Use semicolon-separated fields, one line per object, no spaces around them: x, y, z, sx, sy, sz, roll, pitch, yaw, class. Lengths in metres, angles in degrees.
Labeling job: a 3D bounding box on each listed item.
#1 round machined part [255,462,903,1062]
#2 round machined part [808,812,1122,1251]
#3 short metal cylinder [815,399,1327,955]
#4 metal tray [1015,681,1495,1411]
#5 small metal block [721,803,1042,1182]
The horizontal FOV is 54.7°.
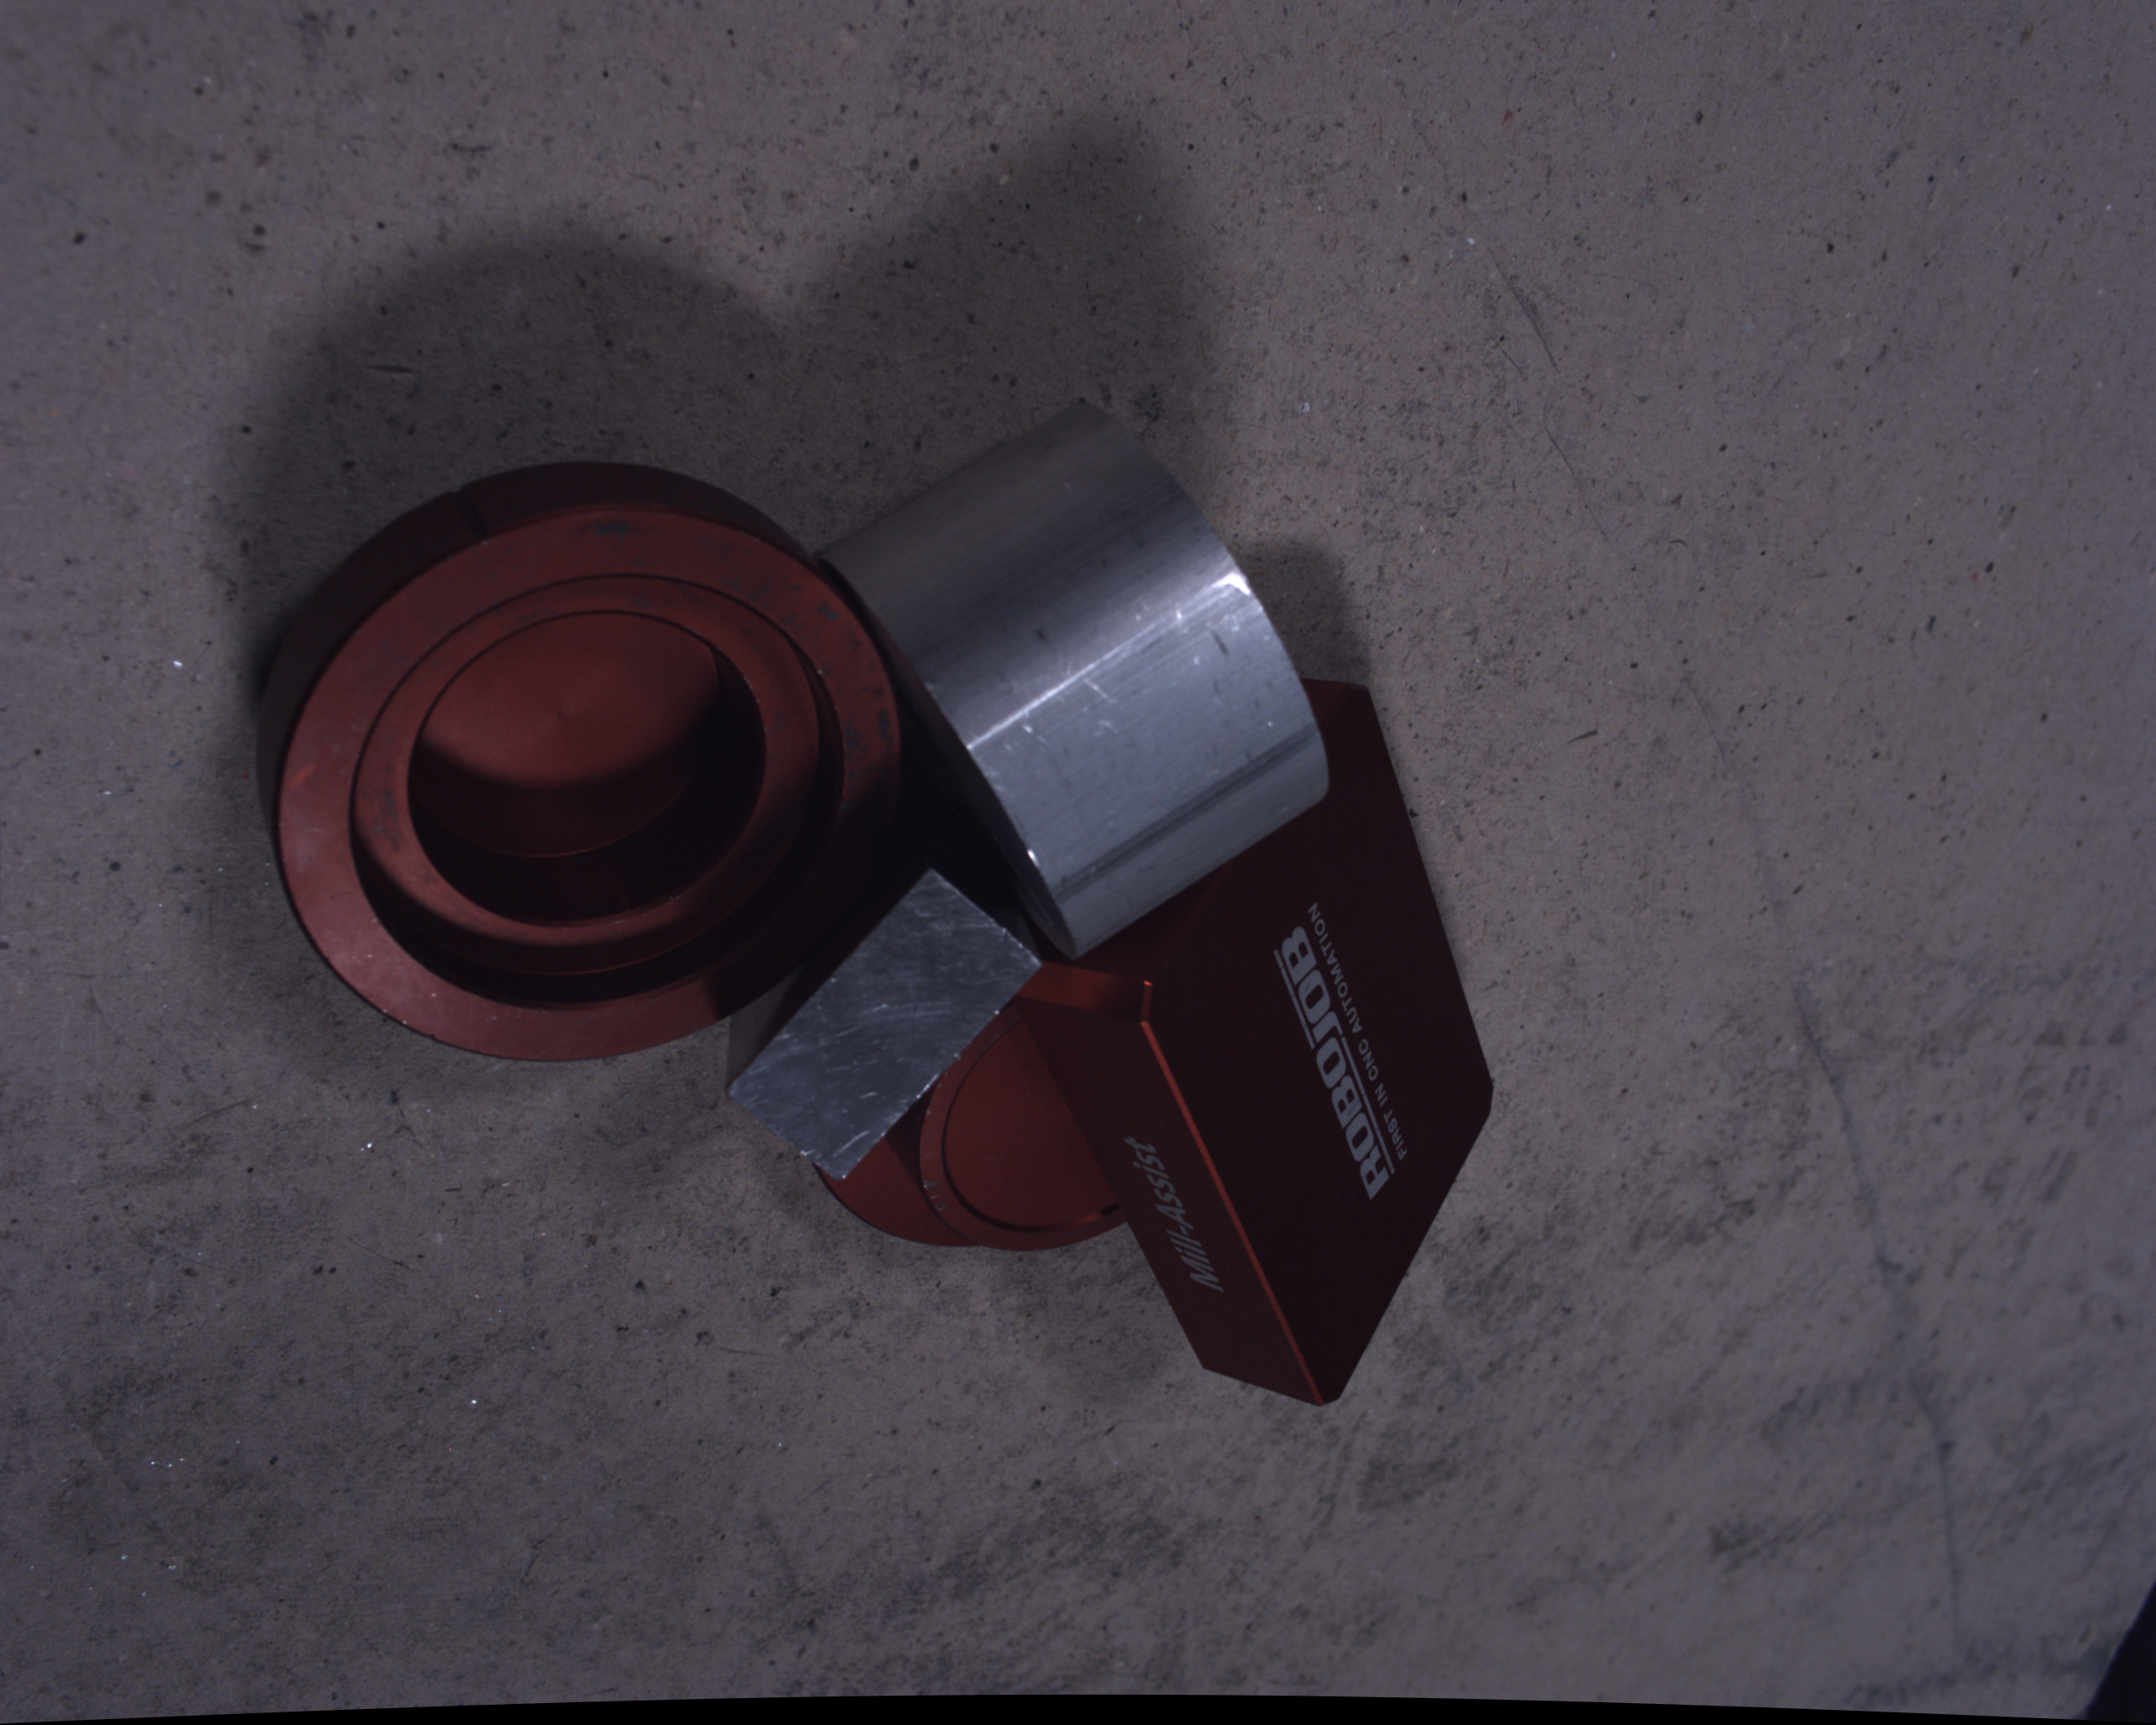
-0.082;-0.019;0.341;0.099;0.042;0.097;-14;125;-21;round machined part
-0.009;0.038;0.418;0.099;0.042;0.097;-14;125;-21;round machined part
-0.002;-0.031;0.355;0.050;0.080;0.080;-33;129;-7;short metal cylinder
0.042;0.038;0.424;0.090;0.030;0.130;-54;137;-32;metal tray
-0.035;0.021;0.364;0.025;0.050;0.050;41;95;-15;small metal block
